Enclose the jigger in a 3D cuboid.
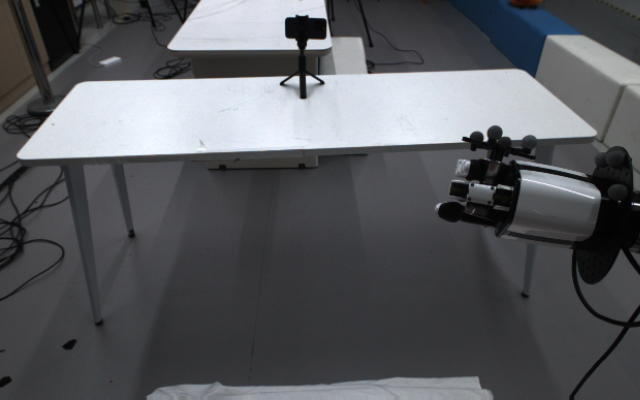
[{"bbox_3d":[0.201,-0.013,0.582,0.043,0.071,0.043,17,2,-1],"label":"jigger"}]
